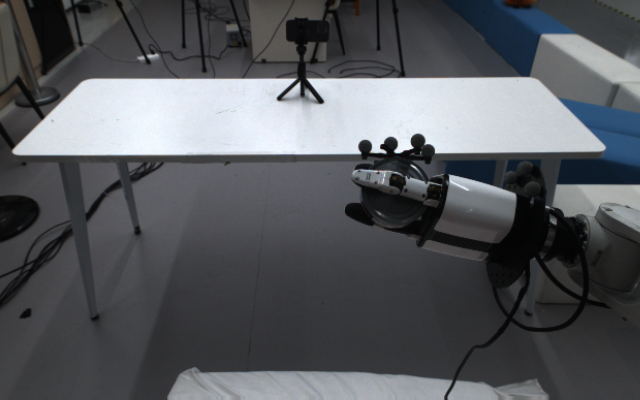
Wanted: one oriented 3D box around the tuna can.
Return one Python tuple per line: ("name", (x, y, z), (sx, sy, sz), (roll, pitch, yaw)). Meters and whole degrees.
("tuna can", (0.094, -0.010, 0.602), (0.085, 0.034, 0.085), (0, 75, 1))
